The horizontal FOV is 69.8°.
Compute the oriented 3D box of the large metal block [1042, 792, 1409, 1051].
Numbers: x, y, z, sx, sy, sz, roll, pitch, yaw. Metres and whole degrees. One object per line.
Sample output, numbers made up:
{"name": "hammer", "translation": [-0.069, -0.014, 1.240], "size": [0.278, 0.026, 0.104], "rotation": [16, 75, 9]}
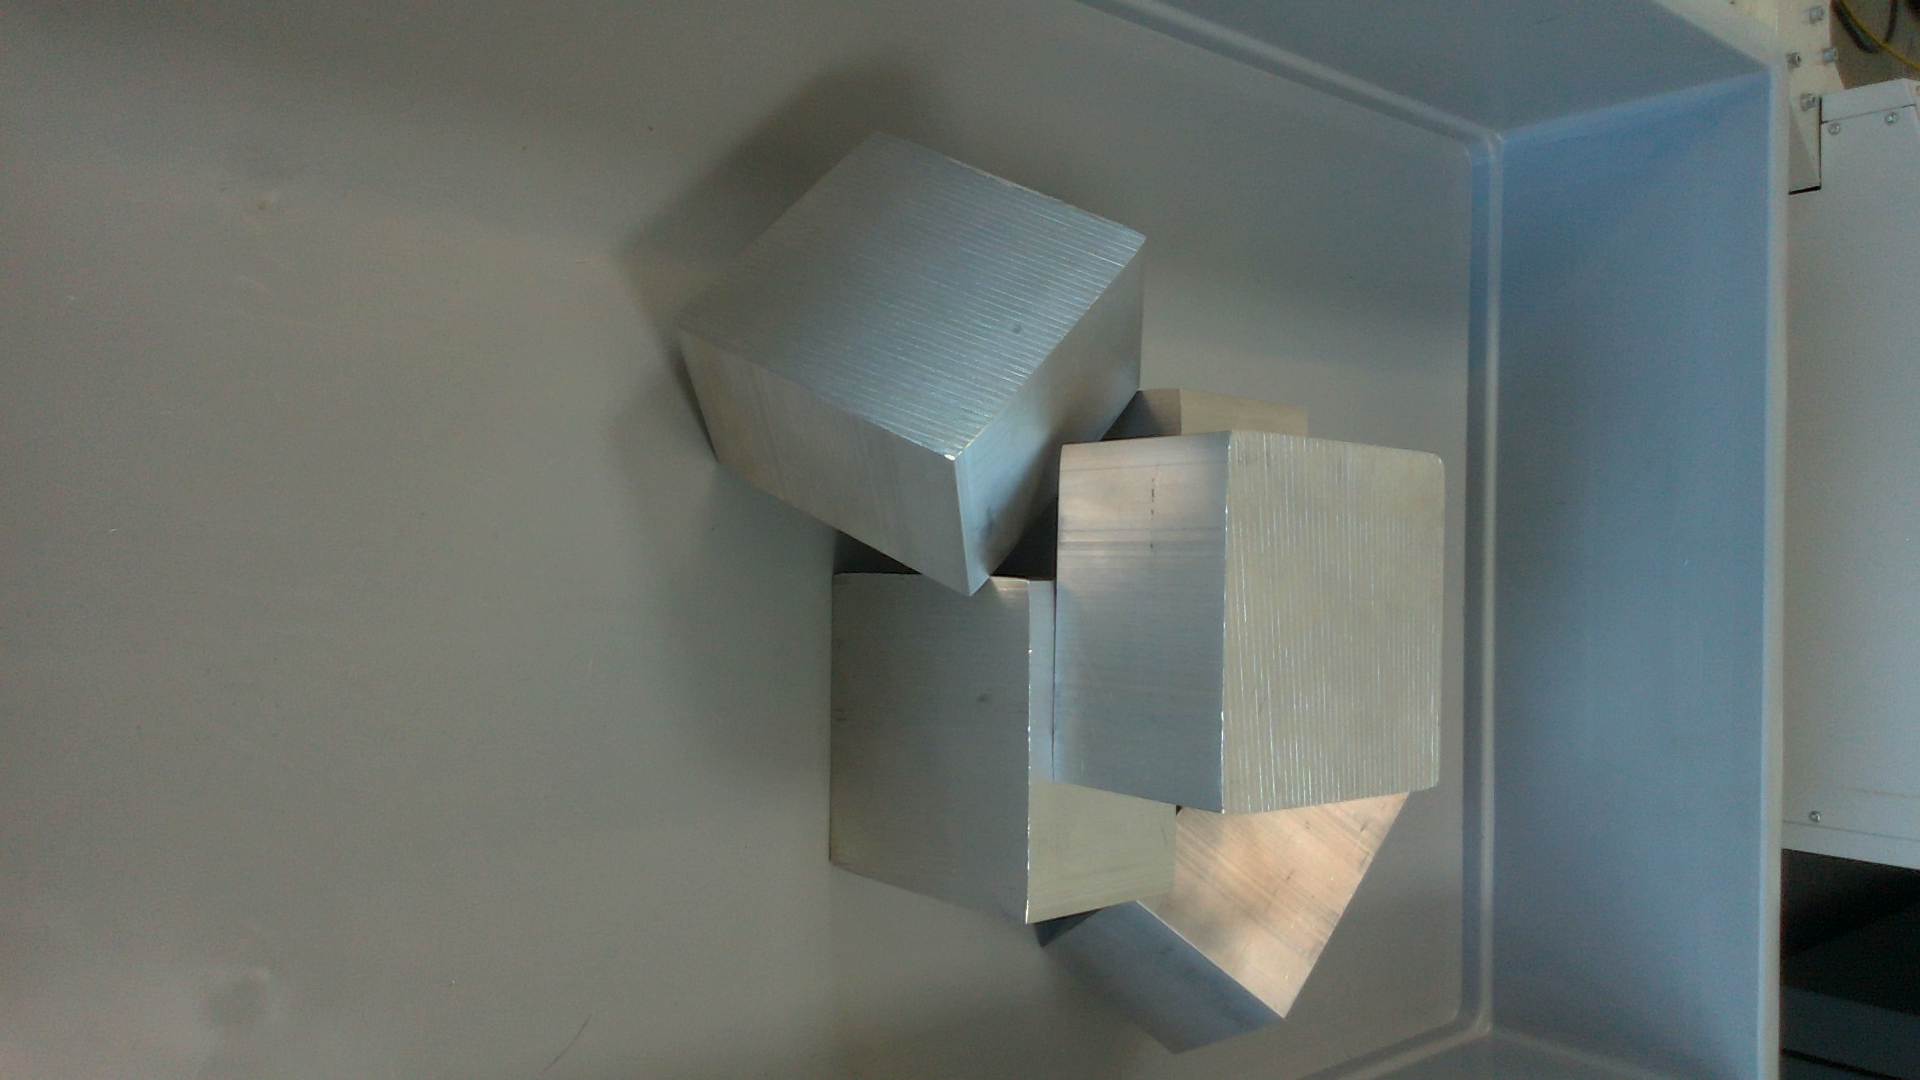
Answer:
{"name": "large metal block", "translation": [0.077, 0.097, 0.406], "size": [0.050, 0.080, 0.080], "rotation": [38, 61, 6]}

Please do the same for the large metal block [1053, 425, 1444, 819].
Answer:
{"name": "large metal block", "translation": [0.069, 0.018, 0.325], "size": [0.080, 0.050, 0.080], "rotation": [2, 89, -40]}

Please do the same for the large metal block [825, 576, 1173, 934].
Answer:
{"name": "large metal block", "translation": [0.009, 0.050, 0.359], "size": [0.050, 0.080, 0.080], "rotation": [1, 89, -40]}

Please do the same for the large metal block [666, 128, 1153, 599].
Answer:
{"name": "large metal block", "translation": [-0.009, -0.045, 0.334], "size": [0.080, 0.080, 0.050], "rotation": [-51, 155, -28]}

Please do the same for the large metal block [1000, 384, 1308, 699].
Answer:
{"name": "large metal block", "translation": [0.051, 0.001, 0.392], "size": [0.050, 0.080, 0.080], "rotation": [1, 89, -40]}
